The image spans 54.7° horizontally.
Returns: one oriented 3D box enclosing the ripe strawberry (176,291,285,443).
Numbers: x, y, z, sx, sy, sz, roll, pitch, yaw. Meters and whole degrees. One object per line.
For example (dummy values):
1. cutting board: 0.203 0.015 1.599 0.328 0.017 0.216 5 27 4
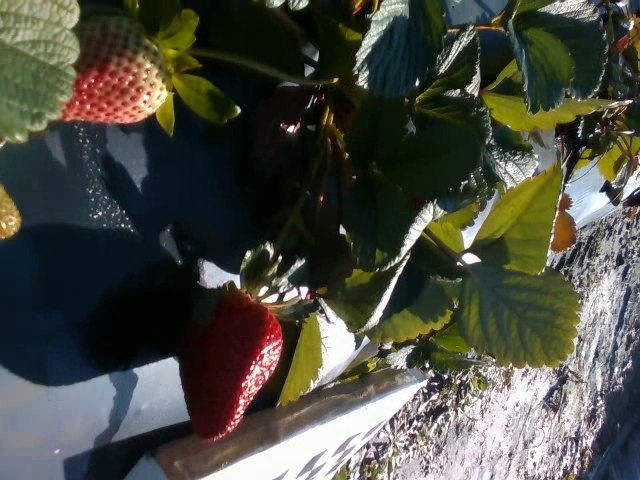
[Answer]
1. ripe strawberry: -0.039 0.047 0.218 0.058 0.062 0.066 -6 -29 -7
